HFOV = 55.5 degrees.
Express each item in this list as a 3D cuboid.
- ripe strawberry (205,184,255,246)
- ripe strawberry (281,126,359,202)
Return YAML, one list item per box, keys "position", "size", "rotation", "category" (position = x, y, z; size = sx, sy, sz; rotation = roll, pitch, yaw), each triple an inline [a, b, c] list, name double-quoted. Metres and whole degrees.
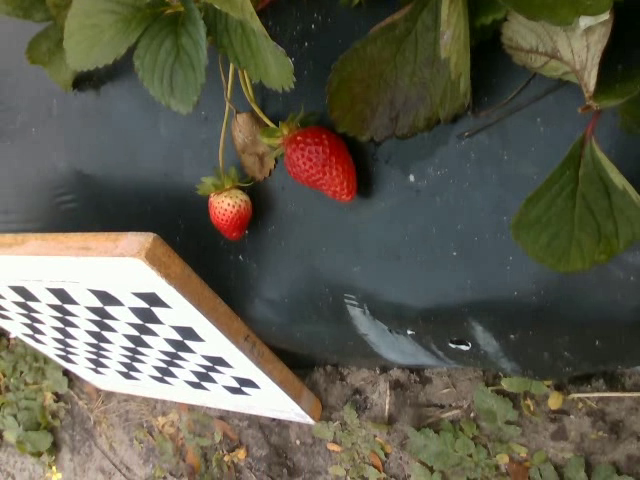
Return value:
- position: [-0.059, -0.016, 0.380]
  size: [0.036, 0.041, 0.027]
  rotation: [10, 40, 36]
  category: "ripe strawberry"
- position: [0.000, -0.041, 0.330]
  size: [0.042, 0.059, 0.044]
  rotation: [-44, -3, -21]
  category: "ripe strawberry"
